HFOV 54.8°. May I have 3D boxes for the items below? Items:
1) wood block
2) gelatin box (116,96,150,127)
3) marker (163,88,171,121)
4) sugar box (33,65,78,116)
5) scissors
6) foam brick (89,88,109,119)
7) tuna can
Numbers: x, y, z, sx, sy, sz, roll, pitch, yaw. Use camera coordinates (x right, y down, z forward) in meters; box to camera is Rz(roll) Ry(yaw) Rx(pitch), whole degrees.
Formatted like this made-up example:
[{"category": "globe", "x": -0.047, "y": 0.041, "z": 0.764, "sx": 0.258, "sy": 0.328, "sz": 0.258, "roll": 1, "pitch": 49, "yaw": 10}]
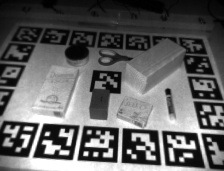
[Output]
[{"category": "wood block", "x": 0.149, "y": -0.069, "z": 0.752, "sx": 0.208, "sy": 0.091, "sz": 0.089, "roll": -34, "pitch": 59, "yaw": -27}, {"category": "gelatin box", "x": 0.065, "y": 0.079, "z": 0.665, "sx": 0.089, "sy": 0.030, "sz": 0.073, "roll": 19, "pitch": 54, "yaw": 12}, {"category": "marker", "x": 0.176, "y": 0.057, "z": 0.692, "sx": 0.019, "sy": 0.020, "sz": 0.120, "roll": 5, "pitch": 54, "yaw": 2}, {"category": "sugar box", "x": -0.175, "y": 0.011, "z": 0.698, "sx": 0.093, "sy": 0.045, "sz": 0.176, "roll": 8, "pitch": 52, "yaw": 3}, {"category": "scissors", "x": 0.037, "y": -0.105, "z": 0.818, "sx": 0.202, "sy": 0.016, "sz": 0.087, "roll": 9, "pitch": 52, "yaw": 7}, {"category": "foam brick", "x": -0.038, "y": 0.055, "z": 0.659, "sx": 0.053, "sy": 0.051, "sz": 0.078, "roll": 5, "pitch": 52, "yaw": 3}, {"category": "tuna can", "x": -0.137, "y": -0.118, "z": 0.804, "sx": 0.086, "sy": 0.034, "sz": 0.085, "roll": 2, "pitch": 52, "yaw": -1}]
